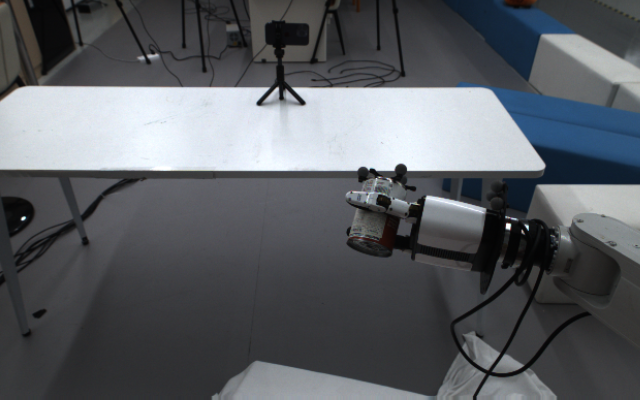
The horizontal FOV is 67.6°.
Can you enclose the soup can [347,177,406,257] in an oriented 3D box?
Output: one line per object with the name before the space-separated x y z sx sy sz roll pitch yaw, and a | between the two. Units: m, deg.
soup can | 0.085 0.024 0.708 0.067 0.067 0.101 12 70 14
